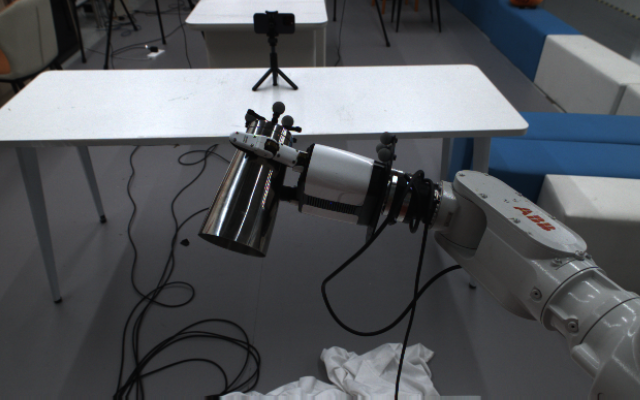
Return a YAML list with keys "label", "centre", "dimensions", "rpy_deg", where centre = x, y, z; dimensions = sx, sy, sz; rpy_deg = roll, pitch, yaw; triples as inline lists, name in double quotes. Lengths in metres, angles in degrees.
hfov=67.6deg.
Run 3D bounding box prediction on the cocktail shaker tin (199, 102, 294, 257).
- label: "cocktail shaker tin"
  centre: [-0.091, -0.019, 0.655]
  dimensions: [0.093, 0.093, 0.170]
  rpy_deg: [12, 72, 14]
